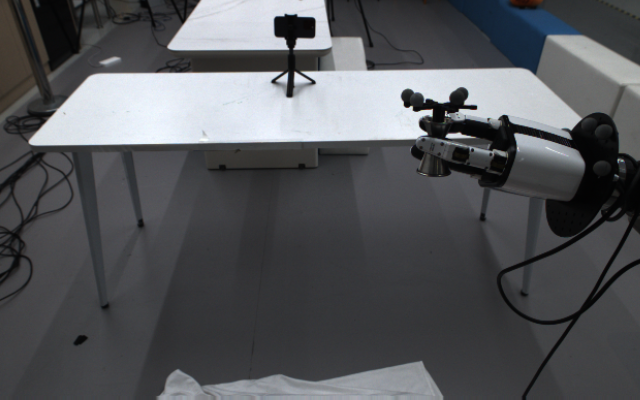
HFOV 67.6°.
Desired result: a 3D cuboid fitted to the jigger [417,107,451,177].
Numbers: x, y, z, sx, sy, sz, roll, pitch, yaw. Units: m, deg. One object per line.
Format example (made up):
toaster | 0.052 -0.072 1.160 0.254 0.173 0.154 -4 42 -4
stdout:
jigger | 0.142 -0.070 0.614 0.043 0.071 0.043 0 21 0
